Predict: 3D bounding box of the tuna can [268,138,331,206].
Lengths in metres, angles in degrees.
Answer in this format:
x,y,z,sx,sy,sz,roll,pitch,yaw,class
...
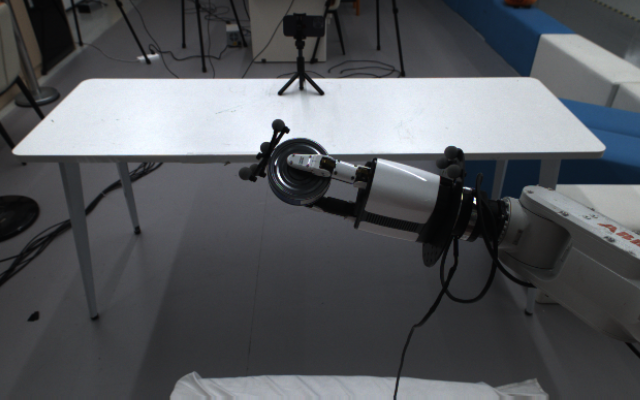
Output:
x,y,z,sx,sy,sz,roll,pitch,yaw,class
-0.023,-0.034,0.633,0.085,0.034,0.085,1,76,-5,tuna can
